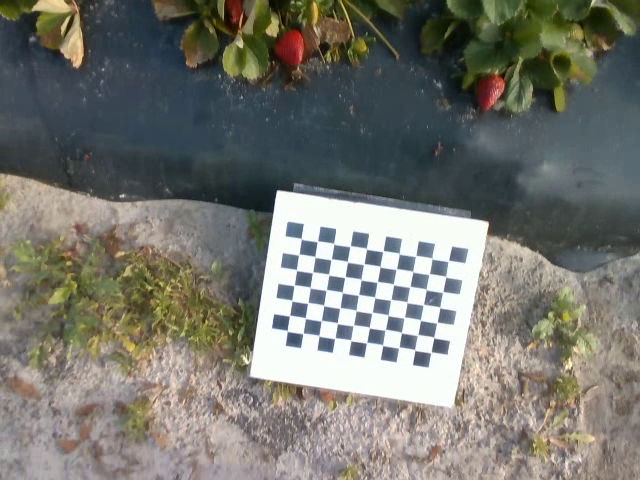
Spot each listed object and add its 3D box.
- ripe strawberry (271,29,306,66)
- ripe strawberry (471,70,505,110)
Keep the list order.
[{"bbox_3d":[-0.026,-0.163,0.666,0.031,0.030,0.026,-28,-13,2],"label":"ripe strawberry"},{"bbox_3d":[0.146,-0.128,0.679,0.029,0.036,0.021,11,-1,3],"label":"ripe strawberry"}]
